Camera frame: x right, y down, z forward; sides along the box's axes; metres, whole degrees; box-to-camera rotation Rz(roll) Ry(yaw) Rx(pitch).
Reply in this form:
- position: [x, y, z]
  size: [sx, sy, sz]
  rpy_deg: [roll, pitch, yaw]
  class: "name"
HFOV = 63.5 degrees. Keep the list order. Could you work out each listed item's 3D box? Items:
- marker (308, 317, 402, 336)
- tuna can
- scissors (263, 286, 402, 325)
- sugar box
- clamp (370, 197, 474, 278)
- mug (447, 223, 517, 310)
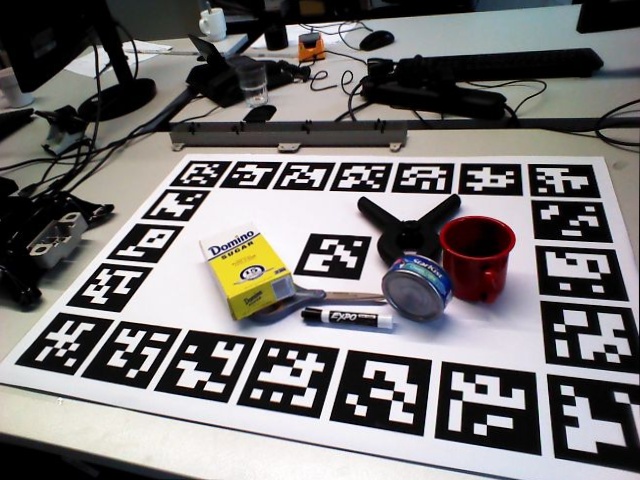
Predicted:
- position: [0.044, 0.111, 0.669]
  size: [0.122, 0.020, 0.019]
  rpy_deg: [0, 40, 15]
  class: "marker"
- position: [0.146, 0.070, 0.643]
  size: [0.086, 0.086, 0.033]
  rpy_deg: [16, 45, 30]
  class: "tuna can"
- position: [0.011, 0.081, 0.712]
  size: [0.203, 0.016, 0.087]
  rpy_deg: [-3, 35, 8]
  class: "scissors"
- position: [-0.088, 0.049, 0.750]
  size: [0.093, 0.045, 0.176]
  rpy_deg: [-20, 33, -12]
  class: "sugar box"
- position: [0.158, 0.004, 0.778]
  size: [0.166, 0.037, 0.201]
  rpy_deg: [-4, 39, 9]
  class: "clamp"
- position: [0.217, 0.043, 0.667]
  size: [0.093, 0.081, 0.117]
  rpy_deg: [-14, 35, -4]
  class: "mug"
